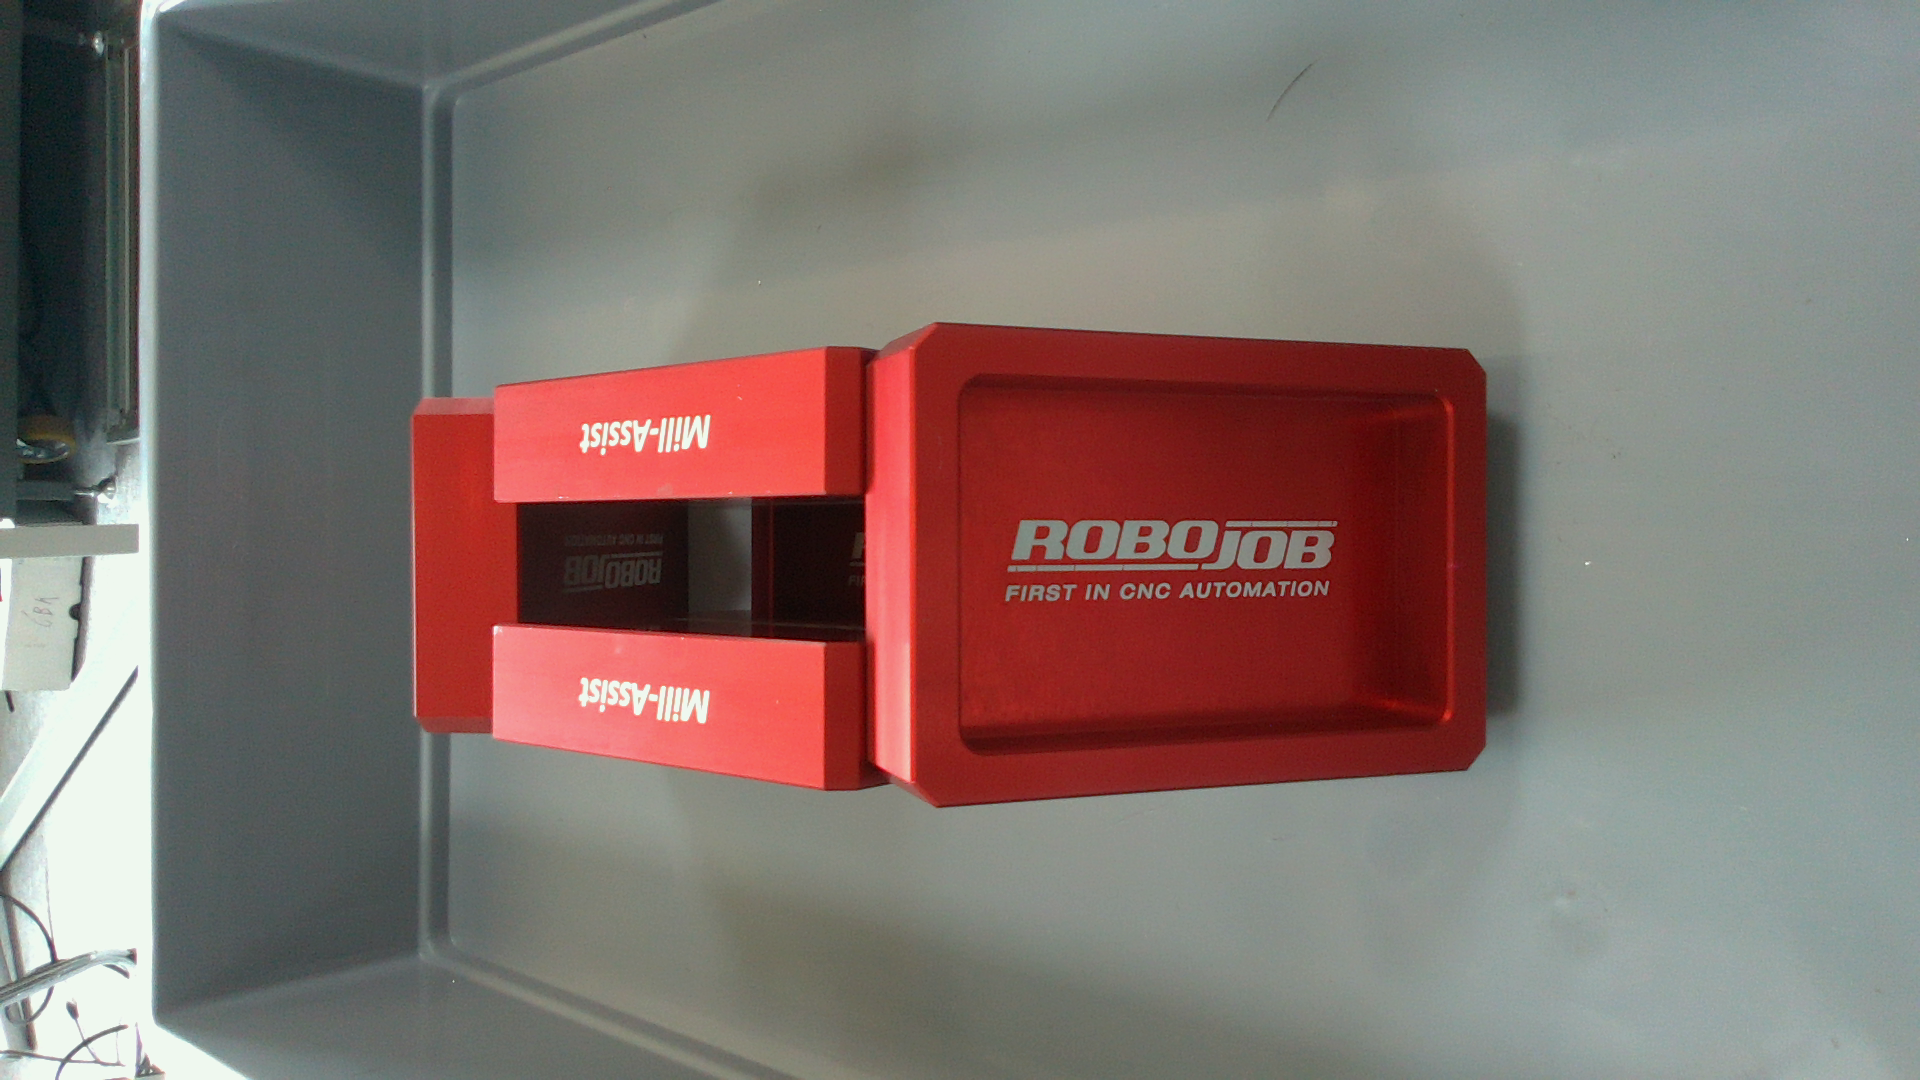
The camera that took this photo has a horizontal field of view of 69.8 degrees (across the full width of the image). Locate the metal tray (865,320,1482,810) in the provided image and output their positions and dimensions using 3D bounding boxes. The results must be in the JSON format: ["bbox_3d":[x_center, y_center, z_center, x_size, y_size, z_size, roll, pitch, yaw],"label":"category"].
[{"bbox_3d":[0.047,0.004,0.287,0.030,0.130,0.090,-179,89,-69],"label":"metal tray"}]

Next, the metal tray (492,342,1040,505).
[{"bbox_3d":[-0.045,-0.025,0.348,0.129,0.090,0.030,0,90,40],"label":"metal tray"}]

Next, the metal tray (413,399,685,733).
[{"bbox_3d":[-0.122,0.006,0.429,0.030,0.130,0.090,0,91,8],"label":"metal tray"}]

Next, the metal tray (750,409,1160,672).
[{"bbox_3d":[-0.006,0.006,0.395,0.129,0.030,0.090,-1,90,39],"label":"metal tray"}]

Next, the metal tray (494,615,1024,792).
[{"bbox_3d":[-0.044,0.036,0.349,0.129,0.090,0.030,0,89,40],"label":"metal tray"}]
